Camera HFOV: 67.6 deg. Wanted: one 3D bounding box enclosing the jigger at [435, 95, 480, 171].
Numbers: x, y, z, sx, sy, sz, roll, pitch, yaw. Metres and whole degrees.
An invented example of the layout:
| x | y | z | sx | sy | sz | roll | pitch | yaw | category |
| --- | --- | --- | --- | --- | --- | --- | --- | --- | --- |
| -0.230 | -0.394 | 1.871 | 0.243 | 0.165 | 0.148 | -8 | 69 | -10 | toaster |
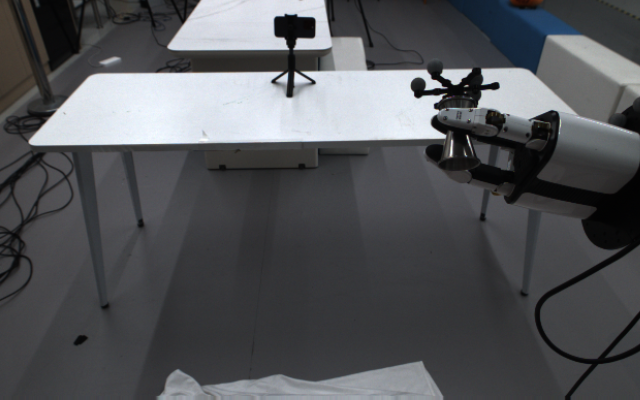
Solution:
| x | y | z | sx | sy | sz | roll | pitch | yaw | category |
| --- | --- | --- | --- | --- | --- | --- | --- | --- | --- |
| 0.144 | -0.071 | 0.511 | 0.043 | 0.043 | 0.071 | 3 | 76 | 1 | jigger |
